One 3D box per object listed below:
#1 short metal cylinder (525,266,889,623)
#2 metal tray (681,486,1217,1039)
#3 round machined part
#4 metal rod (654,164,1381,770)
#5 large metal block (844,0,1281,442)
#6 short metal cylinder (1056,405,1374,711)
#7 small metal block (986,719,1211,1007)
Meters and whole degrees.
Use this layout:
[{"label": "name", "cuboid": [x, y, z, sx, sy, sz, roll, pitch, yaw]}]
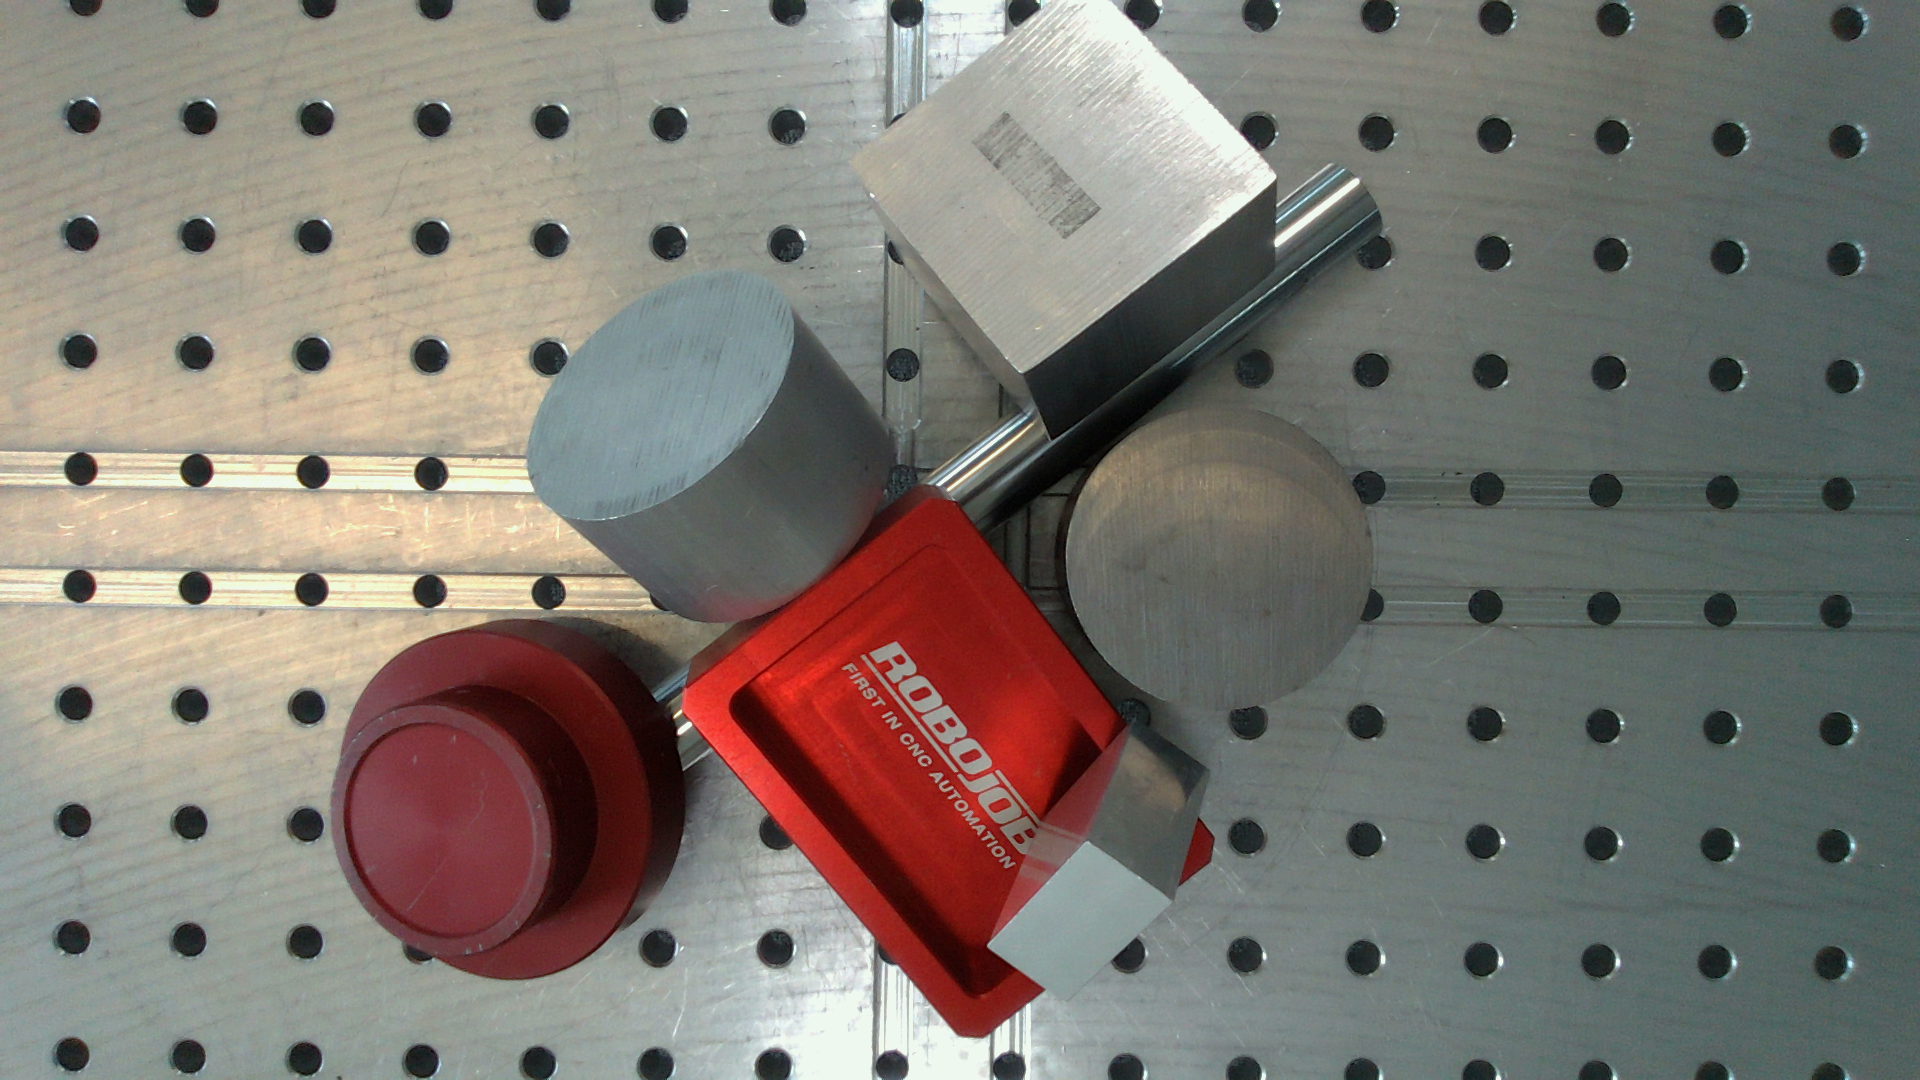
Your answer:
[{"label": "short metal cylinder", "cuboid": [-0.066, -0.025, 0.364, 0.080, 0.050, 0.080, -16, 51, 20]}, {"label": "metal tray", "cuboid": [-0.002, 0.062, 0.381, 0.090, 0.030, 0.130, -38, 103, 0]}, {"label": "round machined part", "cuboid": [-0.129, 0.073, 0.376, 0.098, 0.042, 0.098, 2, 96, 15]}, {"label": "metal rod", "cuboid": [-0.005, -0.006, 0.399, 0.300, 0.025, 0.025, -38, 90, 1]}, {"label": "large metal block", "cuboid": [0.029, -0.088, 0.373, 0.080, 0.050, 0.080, -37, 71, 0]}, {"label": "short metal cylinder", "cuboid": [0.068, 0.005, 0.385, 0.080, 0.050, 0.080, 0, 90, 0]}, {"label": "small metal block", "cuboid": [0.036, 0.083, 0.356, 0.025, 0.050, 0.050, 34, 125, -2]}]
